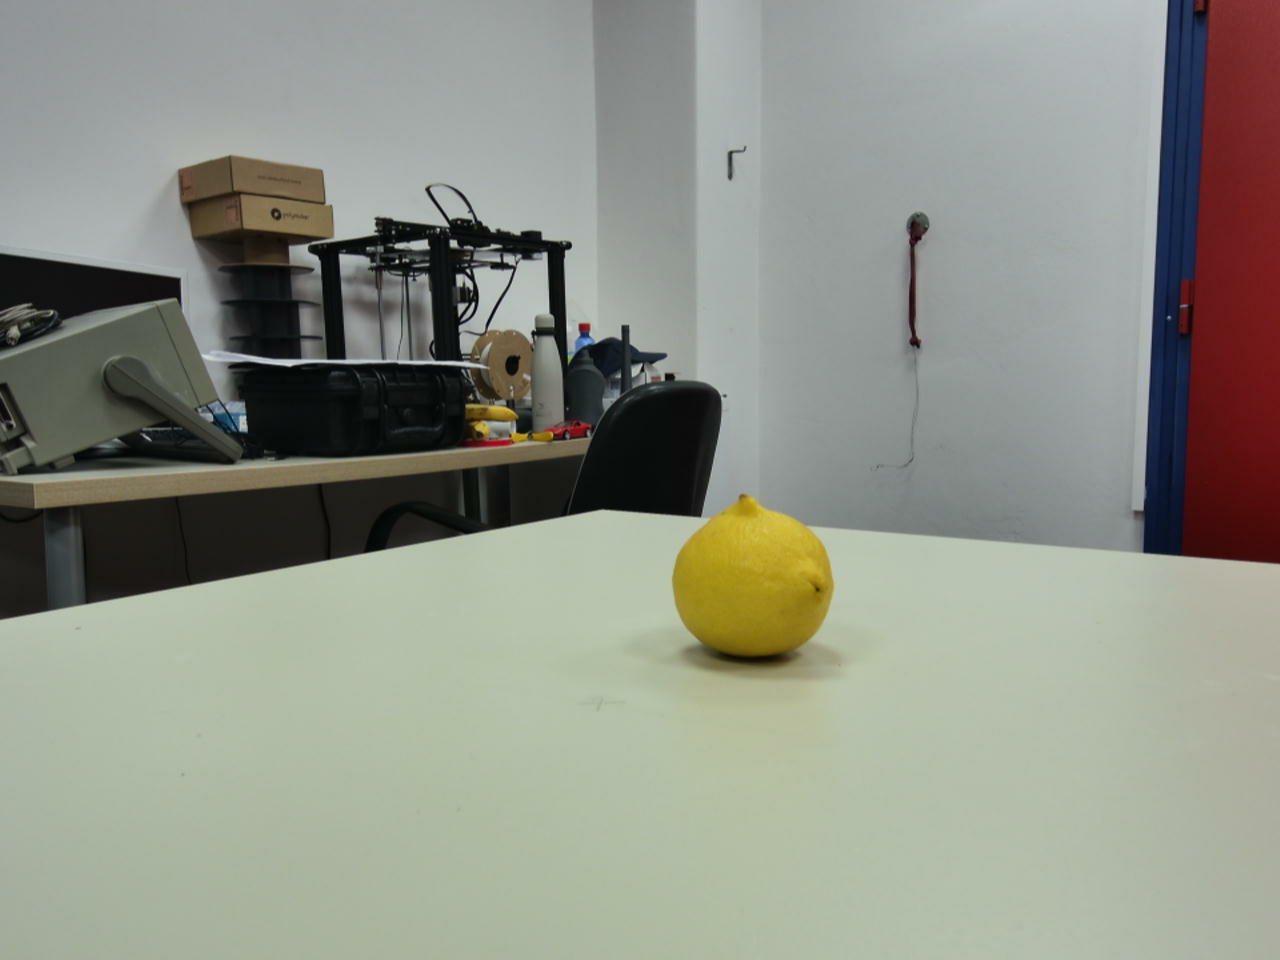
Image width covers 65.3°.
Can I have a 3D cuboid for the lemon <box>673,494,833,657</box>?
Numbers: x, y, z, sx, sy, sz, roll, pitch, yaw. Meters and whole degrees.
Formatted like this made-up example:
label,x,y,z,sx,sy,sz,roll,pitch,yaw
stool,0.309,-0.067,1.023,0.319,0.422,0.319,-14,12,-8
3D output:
label,x,y,z,sx,sy,sz,roll,pitch,yaw
lemon,0.050,0.042,0.448,0.070,0.071,0.071,0,3,3
